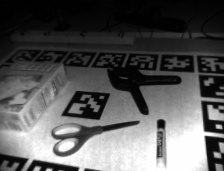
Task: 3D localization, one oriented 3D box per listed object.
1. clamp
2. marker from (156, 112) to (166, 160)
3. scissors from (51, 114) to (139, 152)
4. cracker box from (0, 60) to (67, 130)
[{"bbox_3d":[0.055,-0.017,0.624,0.200,0.037,0.167,26,47,35],"label":"clamp"},{"bbox_3d":[0.102,0.100,0.454,0.019,0.020,0.121,1,37,11],"label":"marker"},{"bbox_3d":[-0.035,0.091,0.489,0.204,0.016,0.087,-13,36,-12],"label":"scissors"},{"bbox_3d":[-0.246,0.011,0.584,0.163,0.072,0.213,4,38,14],"label":"cracker box"}]
